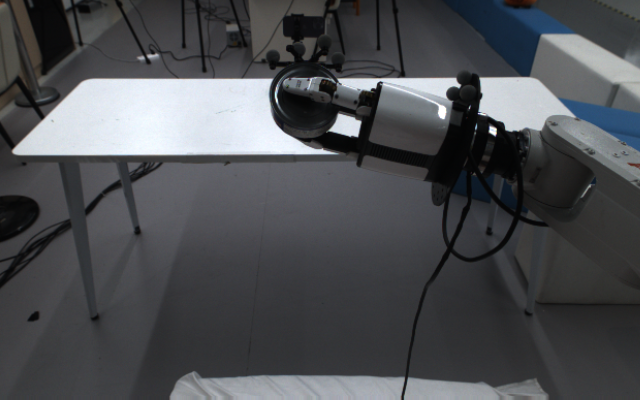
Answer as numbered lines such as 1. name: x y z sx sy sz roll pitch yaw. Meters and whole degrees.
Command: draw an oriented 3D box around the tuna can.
1. tuna can: -0.015 -0.115 0.572 0.085 0.034 0.085 1 71 -4
